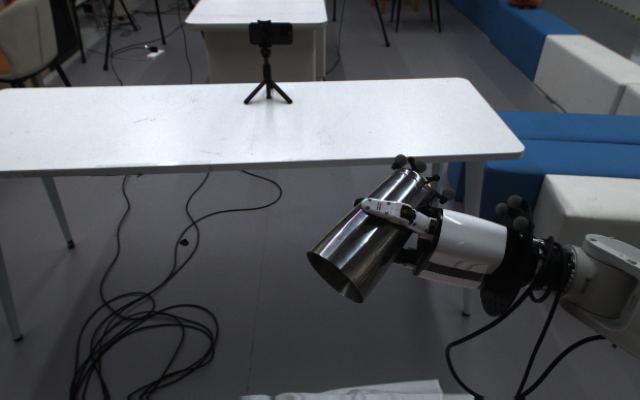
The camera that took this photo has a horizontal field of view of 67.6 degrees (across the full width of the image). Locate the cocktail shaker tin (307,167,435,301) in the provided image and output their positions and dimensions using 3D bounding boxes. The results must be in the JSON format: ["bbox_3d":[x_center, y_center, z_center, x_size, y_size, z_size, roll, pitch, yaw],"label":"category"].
[{"bbox_3d":[0.074,0.035,0.625,0.093,0.093,0.170,32,67,35],"label":"cocktail shaker tin"}]
